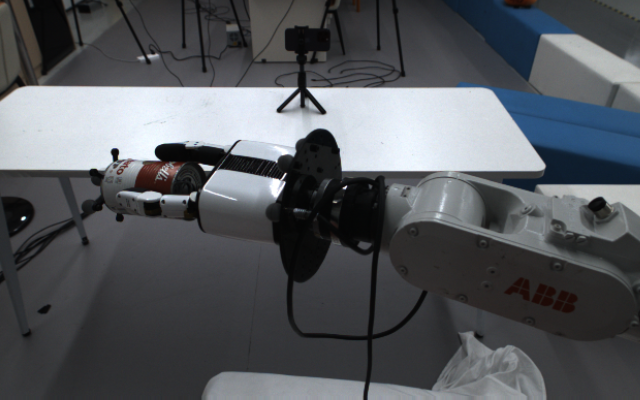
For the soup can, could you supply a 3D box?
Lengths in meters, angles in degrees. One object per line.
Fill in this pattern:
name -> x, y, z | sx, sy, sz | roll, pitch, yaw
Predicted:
soup can -> -0.191, -0.012, 0.566 | 0.101, 0.067, 0.067 | 4, 34, 20
